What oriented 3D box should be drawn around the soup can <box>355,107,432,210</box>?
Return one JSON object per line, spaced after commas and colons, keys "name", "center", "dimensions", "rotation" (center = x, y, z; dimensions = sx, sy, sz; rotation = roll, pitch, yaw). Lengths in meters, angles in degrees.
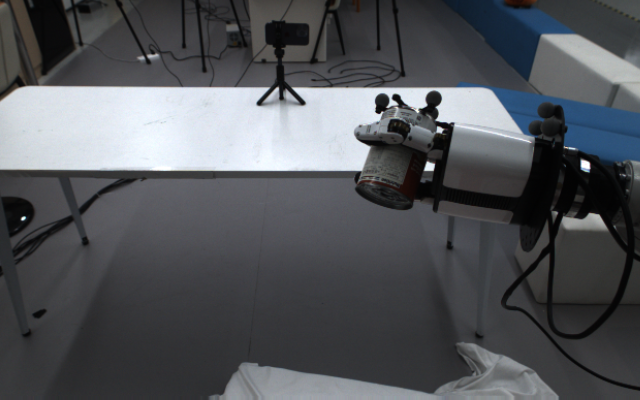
{"name": "soup can", "center": [0.090, -0.049, 0.556], "dimensions": [0.067, 0.067, 0.101], "rotation": [15, 74, 18]}
